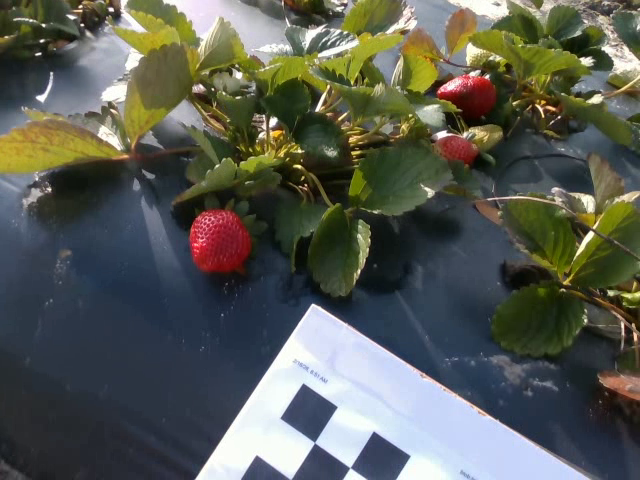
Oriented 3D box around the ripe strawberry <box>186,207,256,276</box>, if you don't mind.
[{"bbox_3d":[-0.055,0.001,0.334,0.041,0.041,0.047,-1,20,20],"label":"ripe strawberry"}]
